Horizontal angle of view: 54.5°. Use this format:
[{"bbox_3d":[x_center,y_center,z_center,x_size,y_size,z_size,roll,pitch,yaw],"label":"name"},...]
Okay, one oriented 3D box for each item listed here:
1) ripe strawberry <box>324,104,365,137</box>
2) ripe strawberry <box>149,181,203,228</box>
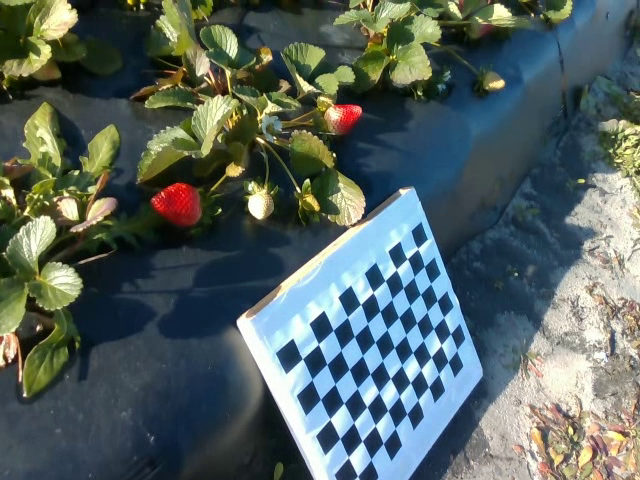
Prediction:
[{"bbox_3d":[0.024,-0.121,0.609,0.045,0.037,0.042,-25,31,23],"label":"ripe strawberry"},{"bbox_3d":[-0.116,-0.029,0.483,0.036,0.044,0.053,-3,-1,39],"label":"ripe strawberry"}]
